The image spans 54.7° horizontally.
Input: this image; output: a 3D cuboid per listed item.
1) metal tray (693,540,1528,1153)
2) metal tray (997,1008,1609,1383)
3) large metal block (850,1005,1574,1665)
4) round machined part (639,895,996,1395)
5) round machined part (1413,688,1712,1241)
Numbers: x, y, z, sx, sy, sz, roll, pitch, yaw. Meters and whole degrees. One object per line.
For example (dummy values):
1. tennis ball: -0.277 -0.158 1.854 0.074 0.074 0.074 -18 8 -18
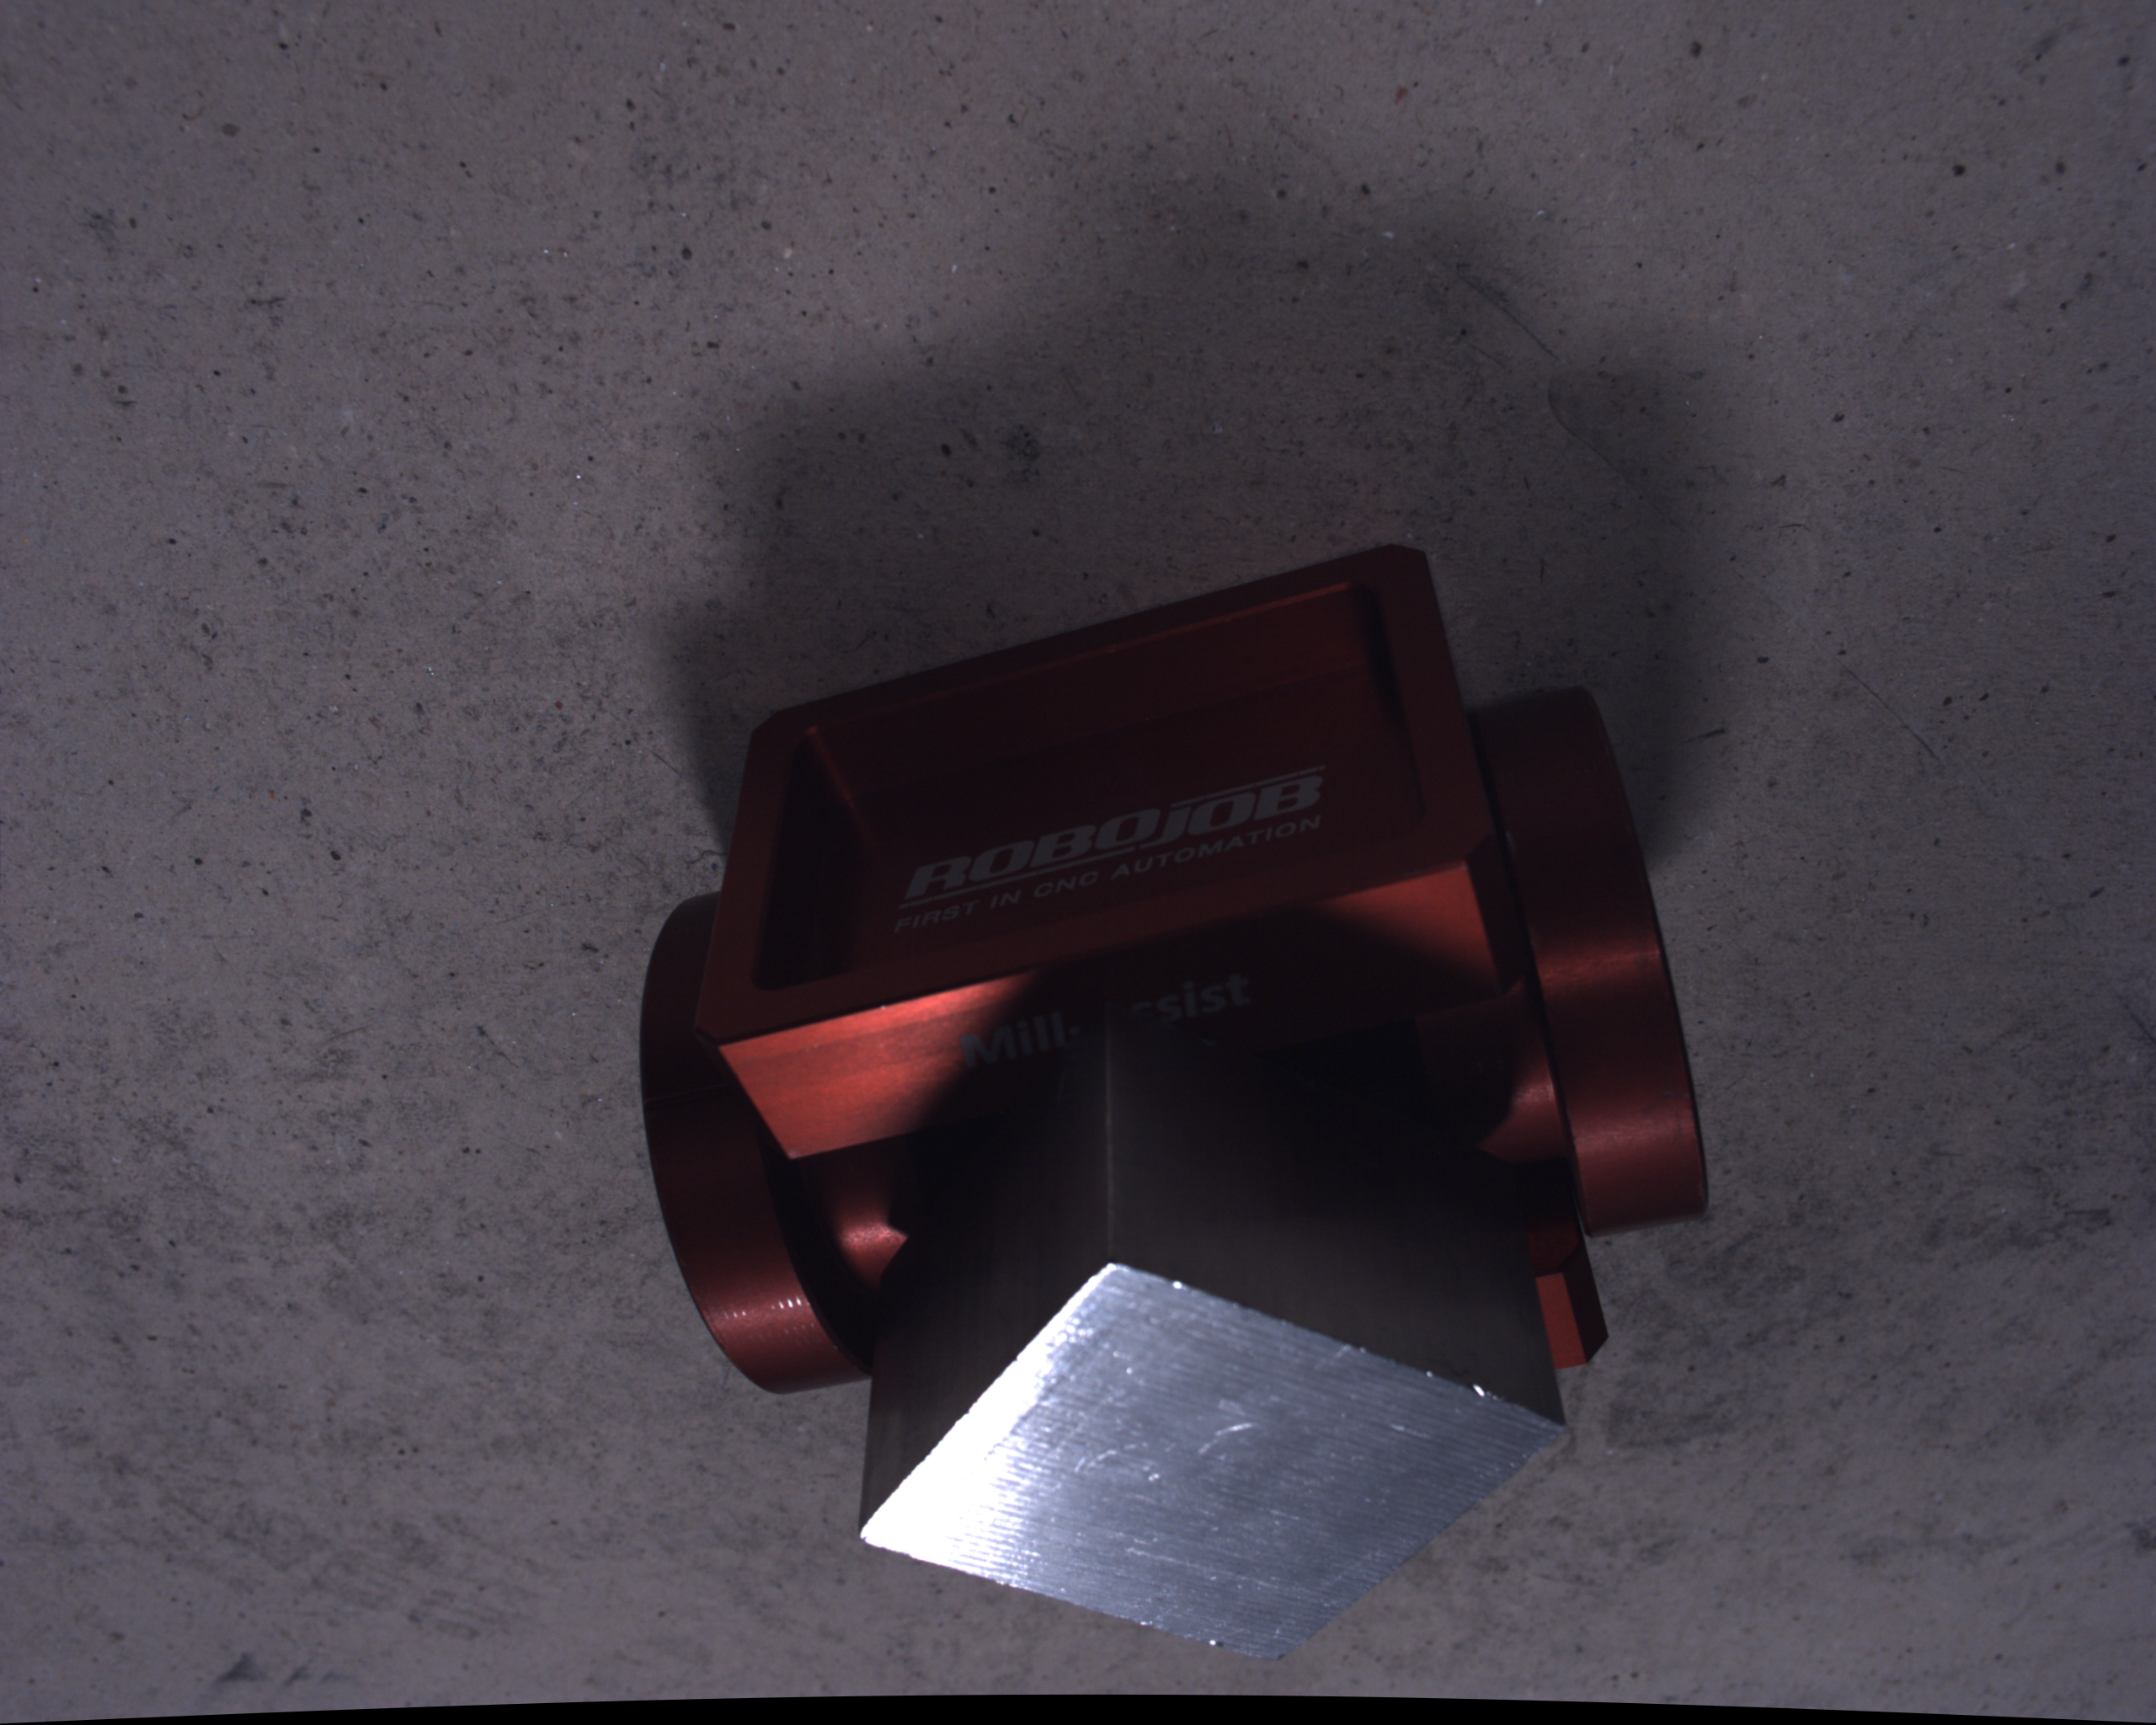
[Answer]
1. metal tray: 0.004 -0.005 0.363 0.130 0.090 0.030 -14 129 11
2. metal tray: 0.032 0.069 0.423 0.130 0.090 0.030 -13 129 10
3. large metal block: 0.019 0.079 0.339 0.080 0.050 0.080 23 126 -19
4. round machined part: -0.045 0.050 0.402 0.042 0.098 0.098 -12 129 10
5. round machined part: 0.082 0.020 0.379 0.042 0.098 0.098 -12 129 10
